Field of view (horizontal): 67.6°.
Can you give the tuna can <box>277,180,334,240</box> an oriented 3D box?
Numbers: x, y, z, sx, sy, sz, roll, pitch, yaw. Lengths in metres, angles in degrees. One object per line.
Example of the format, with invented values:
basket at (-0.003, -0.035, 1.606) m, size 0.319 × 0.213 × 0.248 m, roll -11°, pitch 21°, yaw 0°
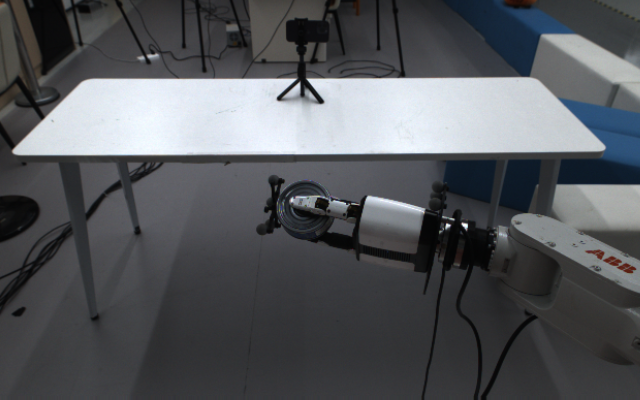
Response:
tuna can at (-0.020, 0.013, 0.719) m, size 0.085 × 0.034 × 0.085 m, roll -2°, pitch 69°, yaw 6°
